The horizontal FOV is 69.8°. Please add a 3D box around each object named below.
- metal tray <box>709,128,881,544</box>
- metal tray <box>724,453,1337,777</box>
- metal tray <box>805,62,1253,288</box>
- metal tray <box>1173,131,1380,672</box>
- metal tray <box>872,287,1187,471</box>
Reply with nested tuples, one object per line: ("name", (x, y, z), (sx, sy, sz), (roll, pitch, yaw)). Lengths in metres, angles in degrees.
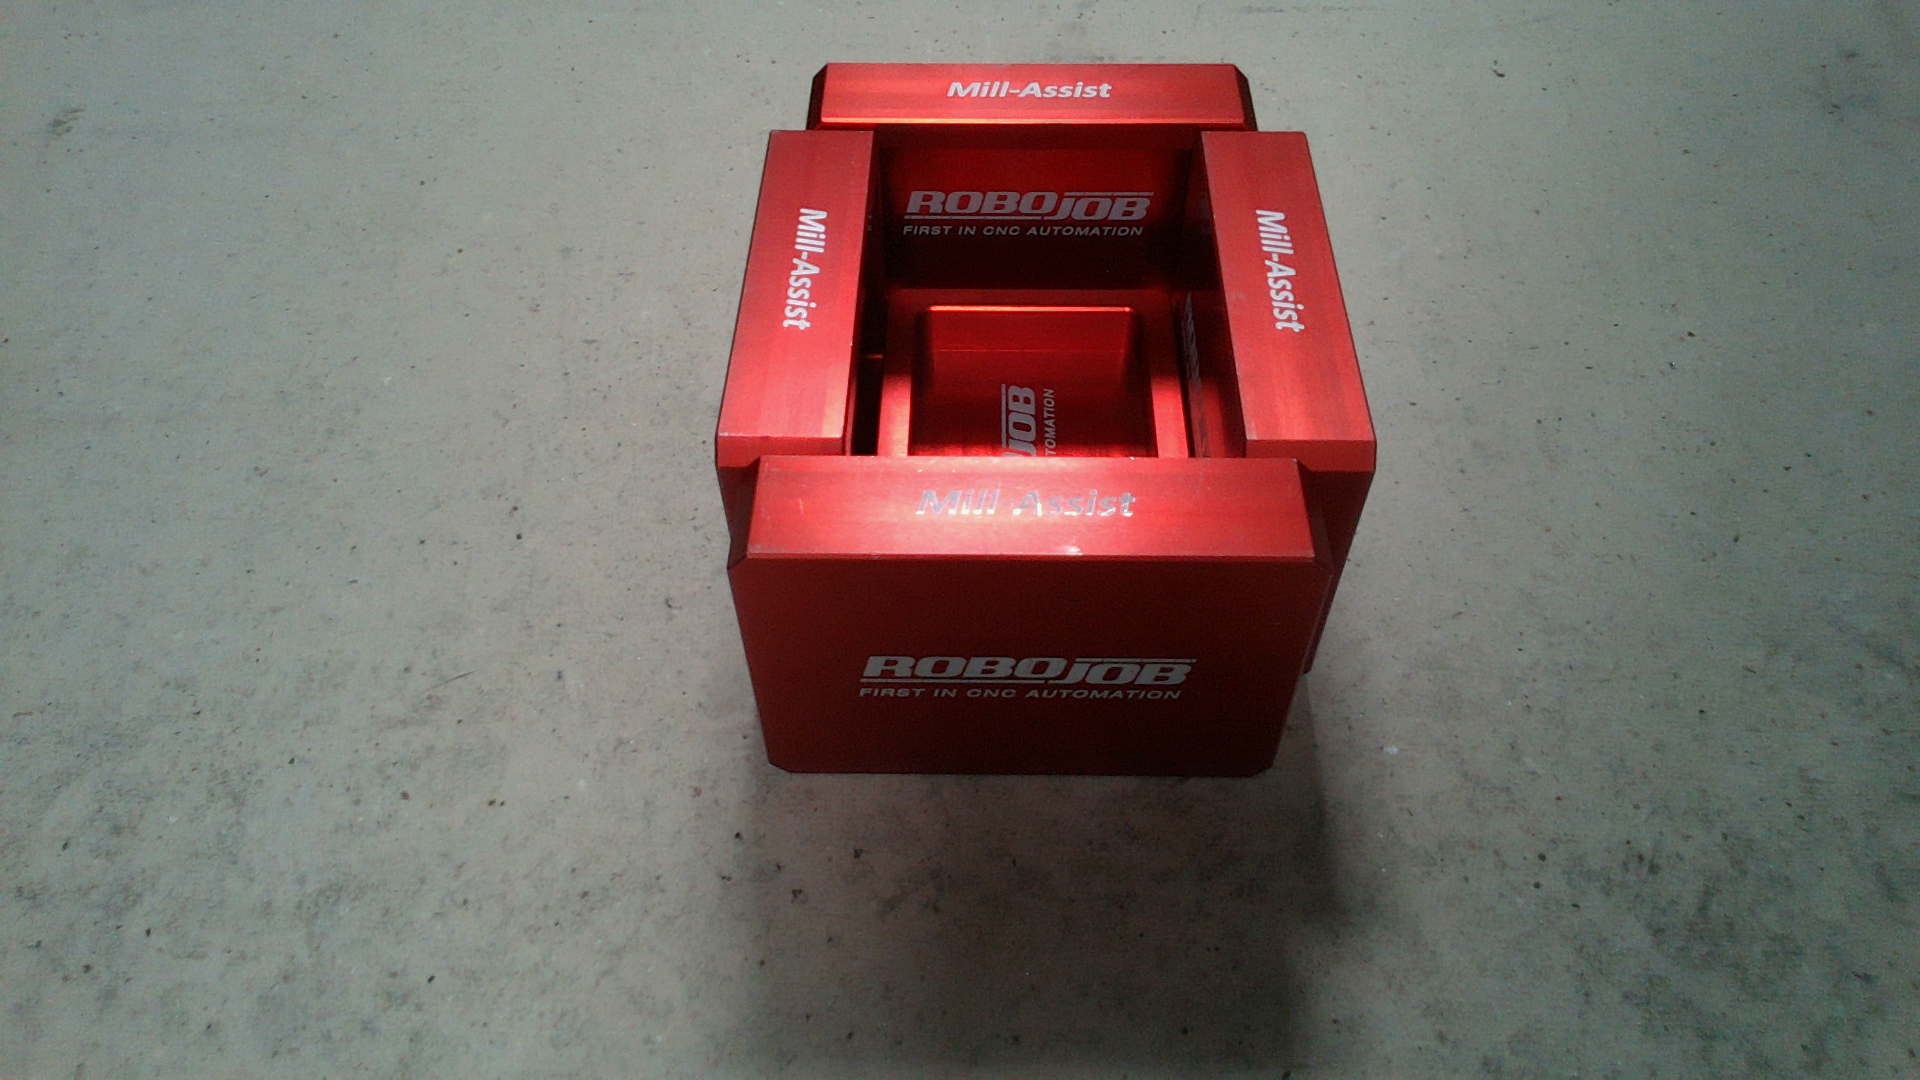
("metal tray", (-0.040, -0.041, 0.383), (0.030, 0.090, 0.130), (1, 50, 1))
("metal tray", (0.015, 0.021, 0.331), (0.130, 0.090, 0.030), (0, 50, 1))
("metal tray", (0.021, -0.102, 0.435), (0.130, 0.090, 0.030), (0, 50, 1))
("metal tray", (0.081, -0.040, 0.382), (0.030, 0.090, 0.130), (1, 50, 1))
("metal tray", (0.020, -0.021, 0.406), (0.090, 0.030, 0.130), (1, 50, 1))
